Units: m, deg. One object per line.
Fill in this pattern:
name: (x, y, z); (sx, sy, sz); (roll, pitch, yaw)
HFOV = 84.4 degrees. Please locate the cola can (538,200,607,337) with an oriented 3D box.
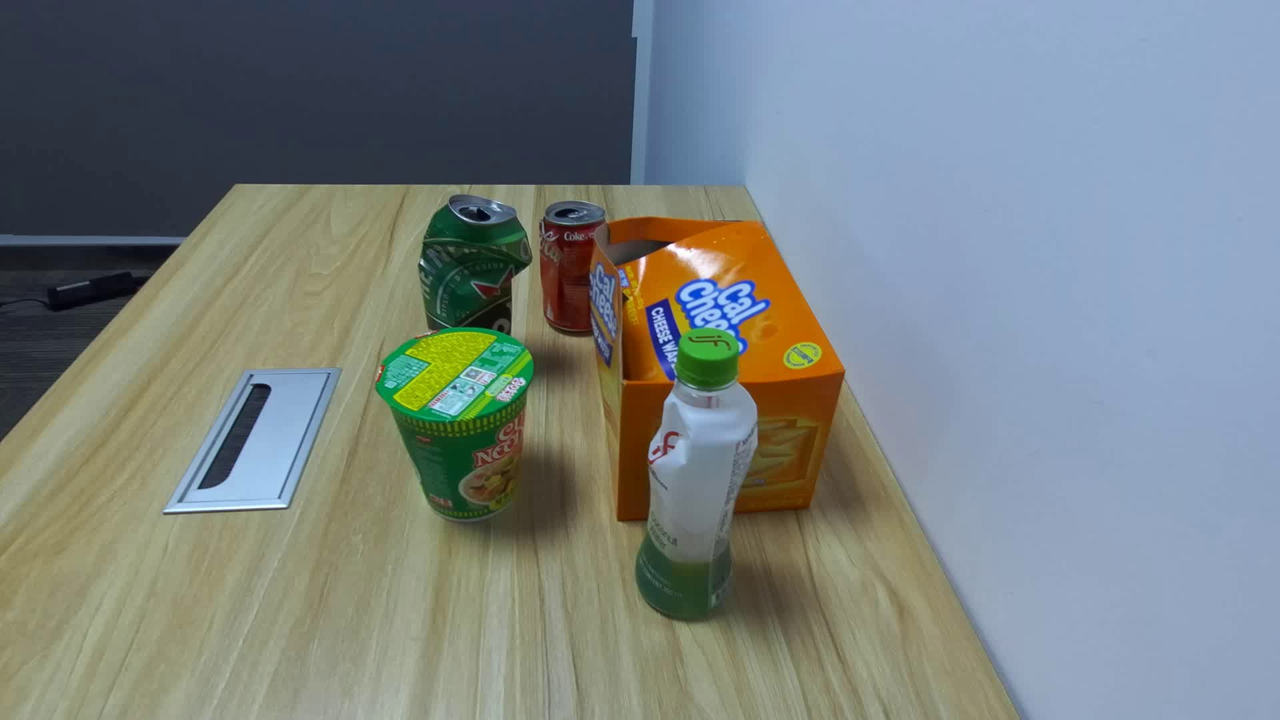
cola can: (-0.058, -0.086, 0.663); (0.066, 0.117, 0.065); (-6, 35, -12)

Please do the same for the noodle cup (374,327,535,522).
noodle cup: (-0.119, 0.048, 0.484); (0.097, 0.110, 0.097); (2, 38, -1)

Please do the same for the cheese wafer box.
cheese wafer box: (0.044, -0.005, 0.553); (0.152, 0.132, 0.230); (-3, 38, -7)

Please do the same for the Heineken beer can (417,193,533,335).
Heineken beer can: (-0.140, -0.055, 0.585); (0.079, 0.159, 0.067); (-14, 44, -30)

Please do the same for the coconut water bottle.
coconut water bottle: (0.032, 0.064, 0.402); (0.069, 0.186, 0.069); (3, 37, -2)
